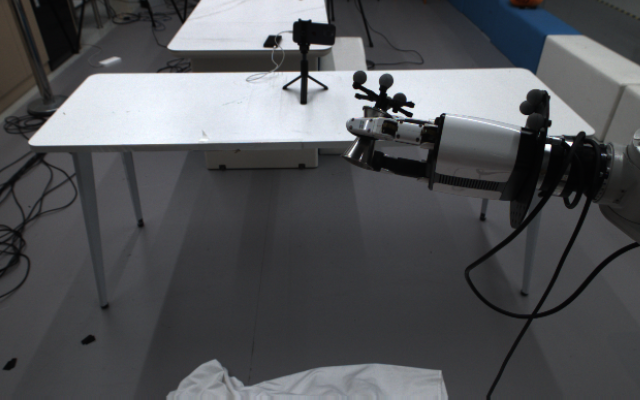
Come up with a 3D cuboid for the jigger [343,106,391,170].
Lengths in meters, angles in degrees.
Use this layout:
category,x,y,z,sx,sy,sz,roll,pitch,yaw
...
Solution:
category,x,y,z,sx,sy,sz,roll,pitch,yaw
jigger,0.056,-0.078,0.593,0.043,0.071,0.043,24,-3,1
